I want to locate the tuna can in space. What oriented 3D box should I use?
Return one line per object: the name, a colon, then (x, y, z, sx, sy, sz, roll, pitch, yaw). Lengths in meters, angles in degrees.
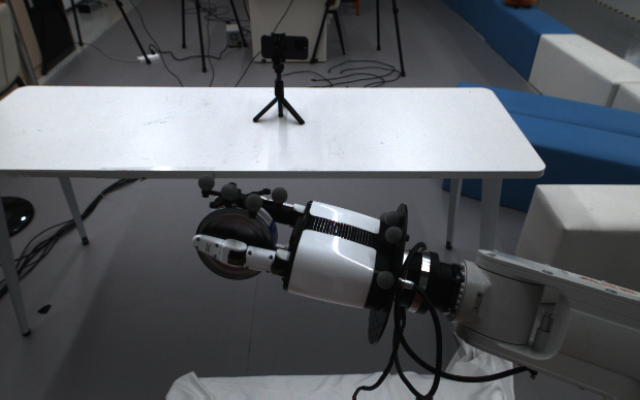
tuna can: (-0.089, 0.042, 0.535, 0.085, 0.085, 0.034, 5, 18, 4)
